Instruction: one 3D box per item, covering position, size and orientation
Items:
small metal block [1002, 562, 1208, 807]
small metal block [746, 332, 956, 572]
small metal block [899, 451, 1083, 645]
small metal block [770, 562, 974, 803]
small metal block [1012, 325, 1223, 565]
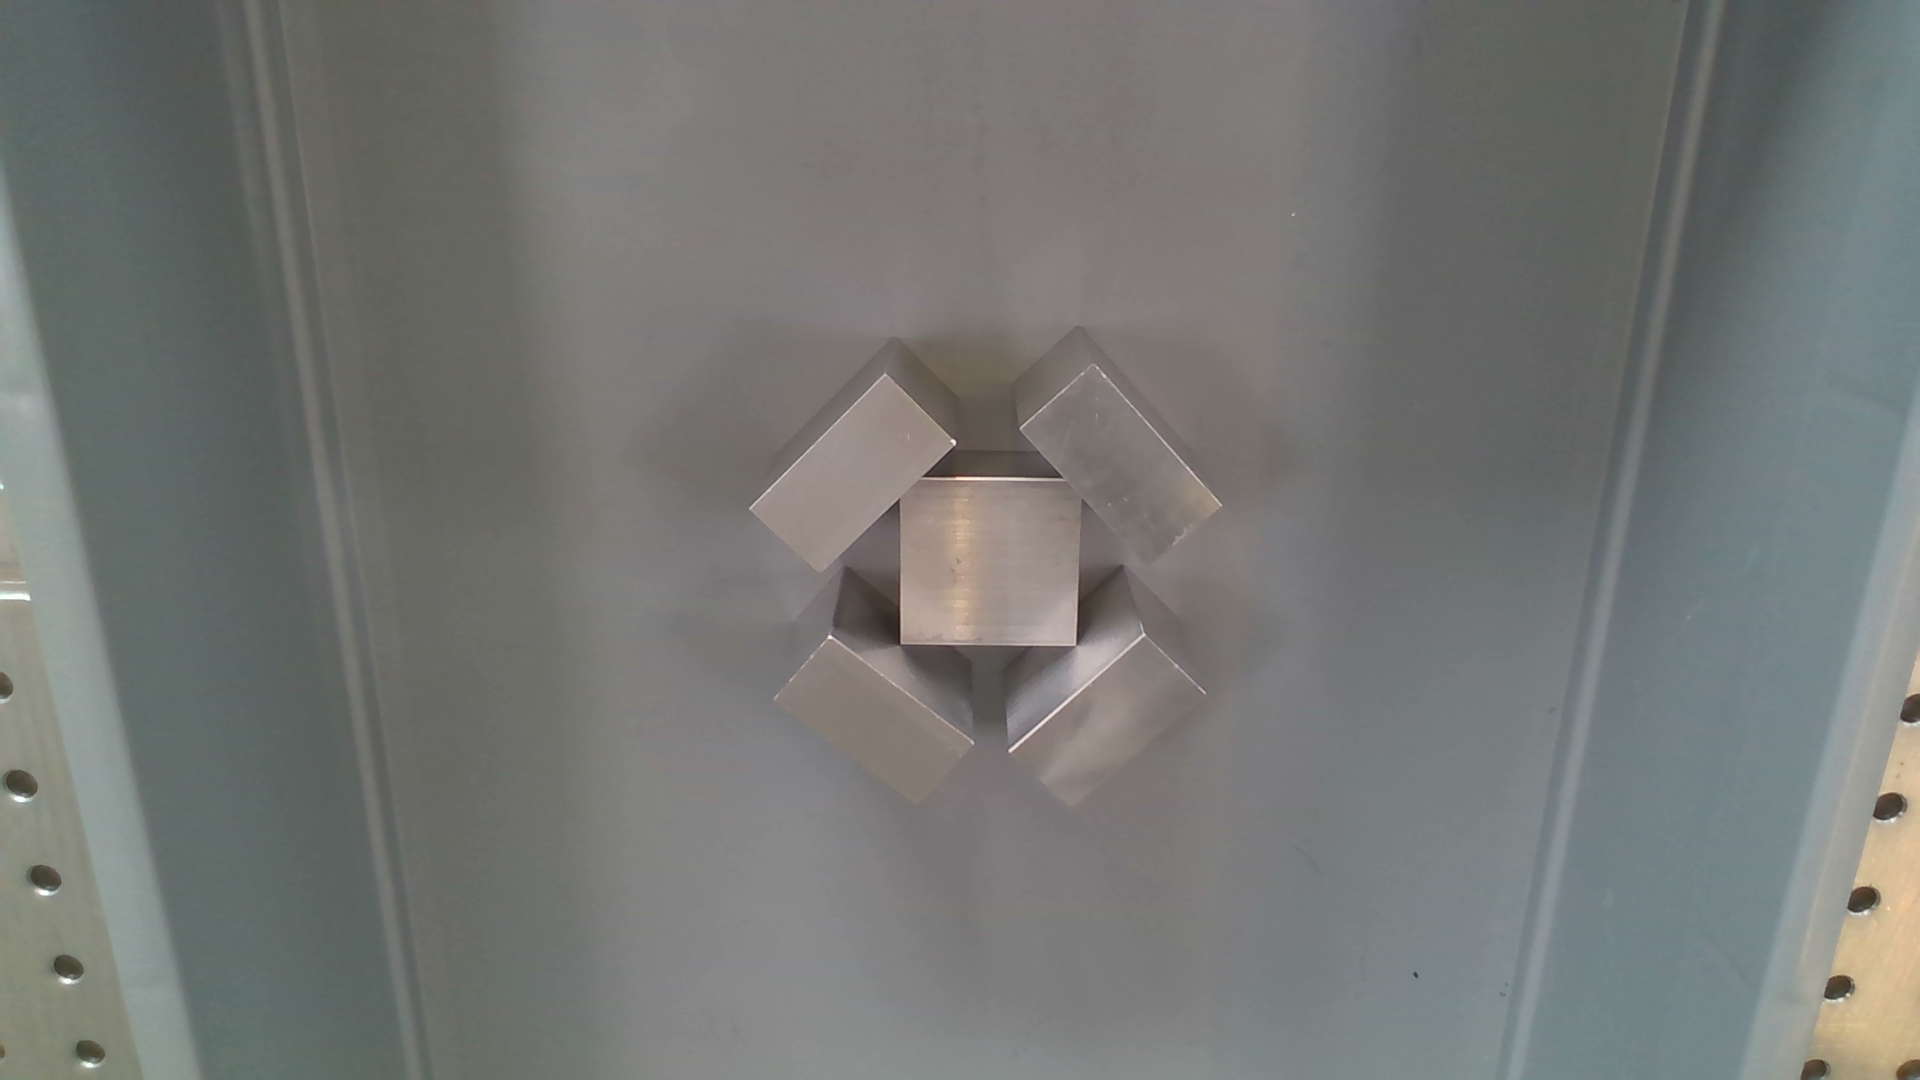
[{"bbox_3d":[0.039,0.040,0.393,0.050,0.050,0.025,-43,105,15],"label":"small metal block"},{"bbox_3d":[-0.028,-0.025,0.370,0.050,0.050,0.025,-43,104,14],"label":"small metal block"},{"bbox_3d":[0.008,0.002,0.392,0.050,0.025,0.050,1,110,0],"label":"small metal block"},{"bbox_3d":[-0.023,0.040,0.393,0.050,0.050,0.025,38,106,-13],"label":"small metal block"},{"bbox_3d":[0.041,-0.027,0.369,0.025,0.050,0.050,-41,104,12],"label":"small metal block"}]
